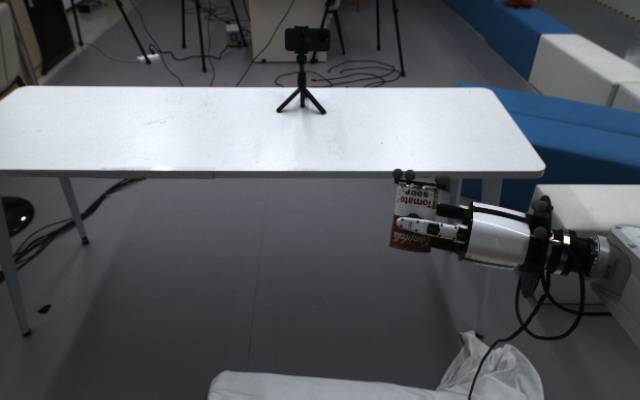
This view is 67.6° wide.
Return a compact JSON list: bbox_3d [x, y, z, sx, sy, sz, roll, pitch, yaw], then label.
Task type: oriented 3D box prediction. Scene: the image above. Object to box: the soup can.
[{"bbox_3d":[0.152,0.026,0.774,0.067,0.101,0.067,7,4,0],"label":"soup can"}]
